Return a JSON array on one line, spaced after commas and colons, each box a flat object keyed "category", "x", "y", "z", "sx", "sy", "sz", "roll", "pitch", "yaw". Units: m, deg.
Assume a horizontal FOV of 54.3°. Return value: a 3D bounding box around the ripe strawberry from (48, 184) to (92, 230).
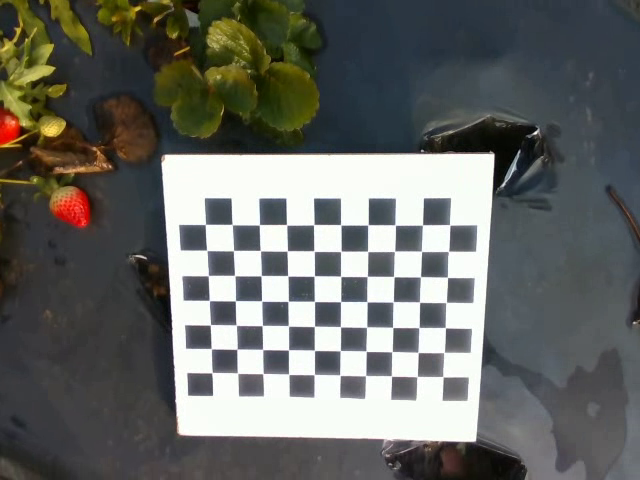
[{"category": "ripe strawberry", "x": -0.217, "y": -0.026, "z": 0.539, "sx": 0.035, "sy": 0.043, "sz": 0.030, "roll": -37, "pitch": 6, "yaw": 8}]
